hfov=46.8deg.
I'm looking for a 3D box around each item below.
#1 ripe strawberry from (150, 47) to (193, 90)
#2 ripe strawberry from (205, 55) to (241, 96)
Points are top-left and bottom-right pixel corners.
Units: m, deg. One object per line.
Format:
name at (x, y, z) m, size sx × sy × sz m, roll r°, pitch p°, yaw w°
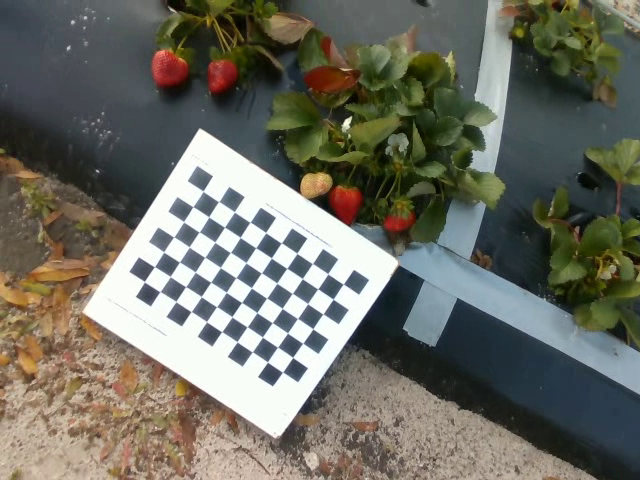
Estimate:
ripe strawberry at (-0.192, -0.222, 0.957) m, size 0.050 × 0.061 × 0.045 m, roll 23°, pitch -35°, yaw 2°
ripe strawberry at (-0.125, -0.219, 0.964) m, size 0.042 × 0.053 × 0.034 m, roll 17°, pitch -32°, yaw 3°
